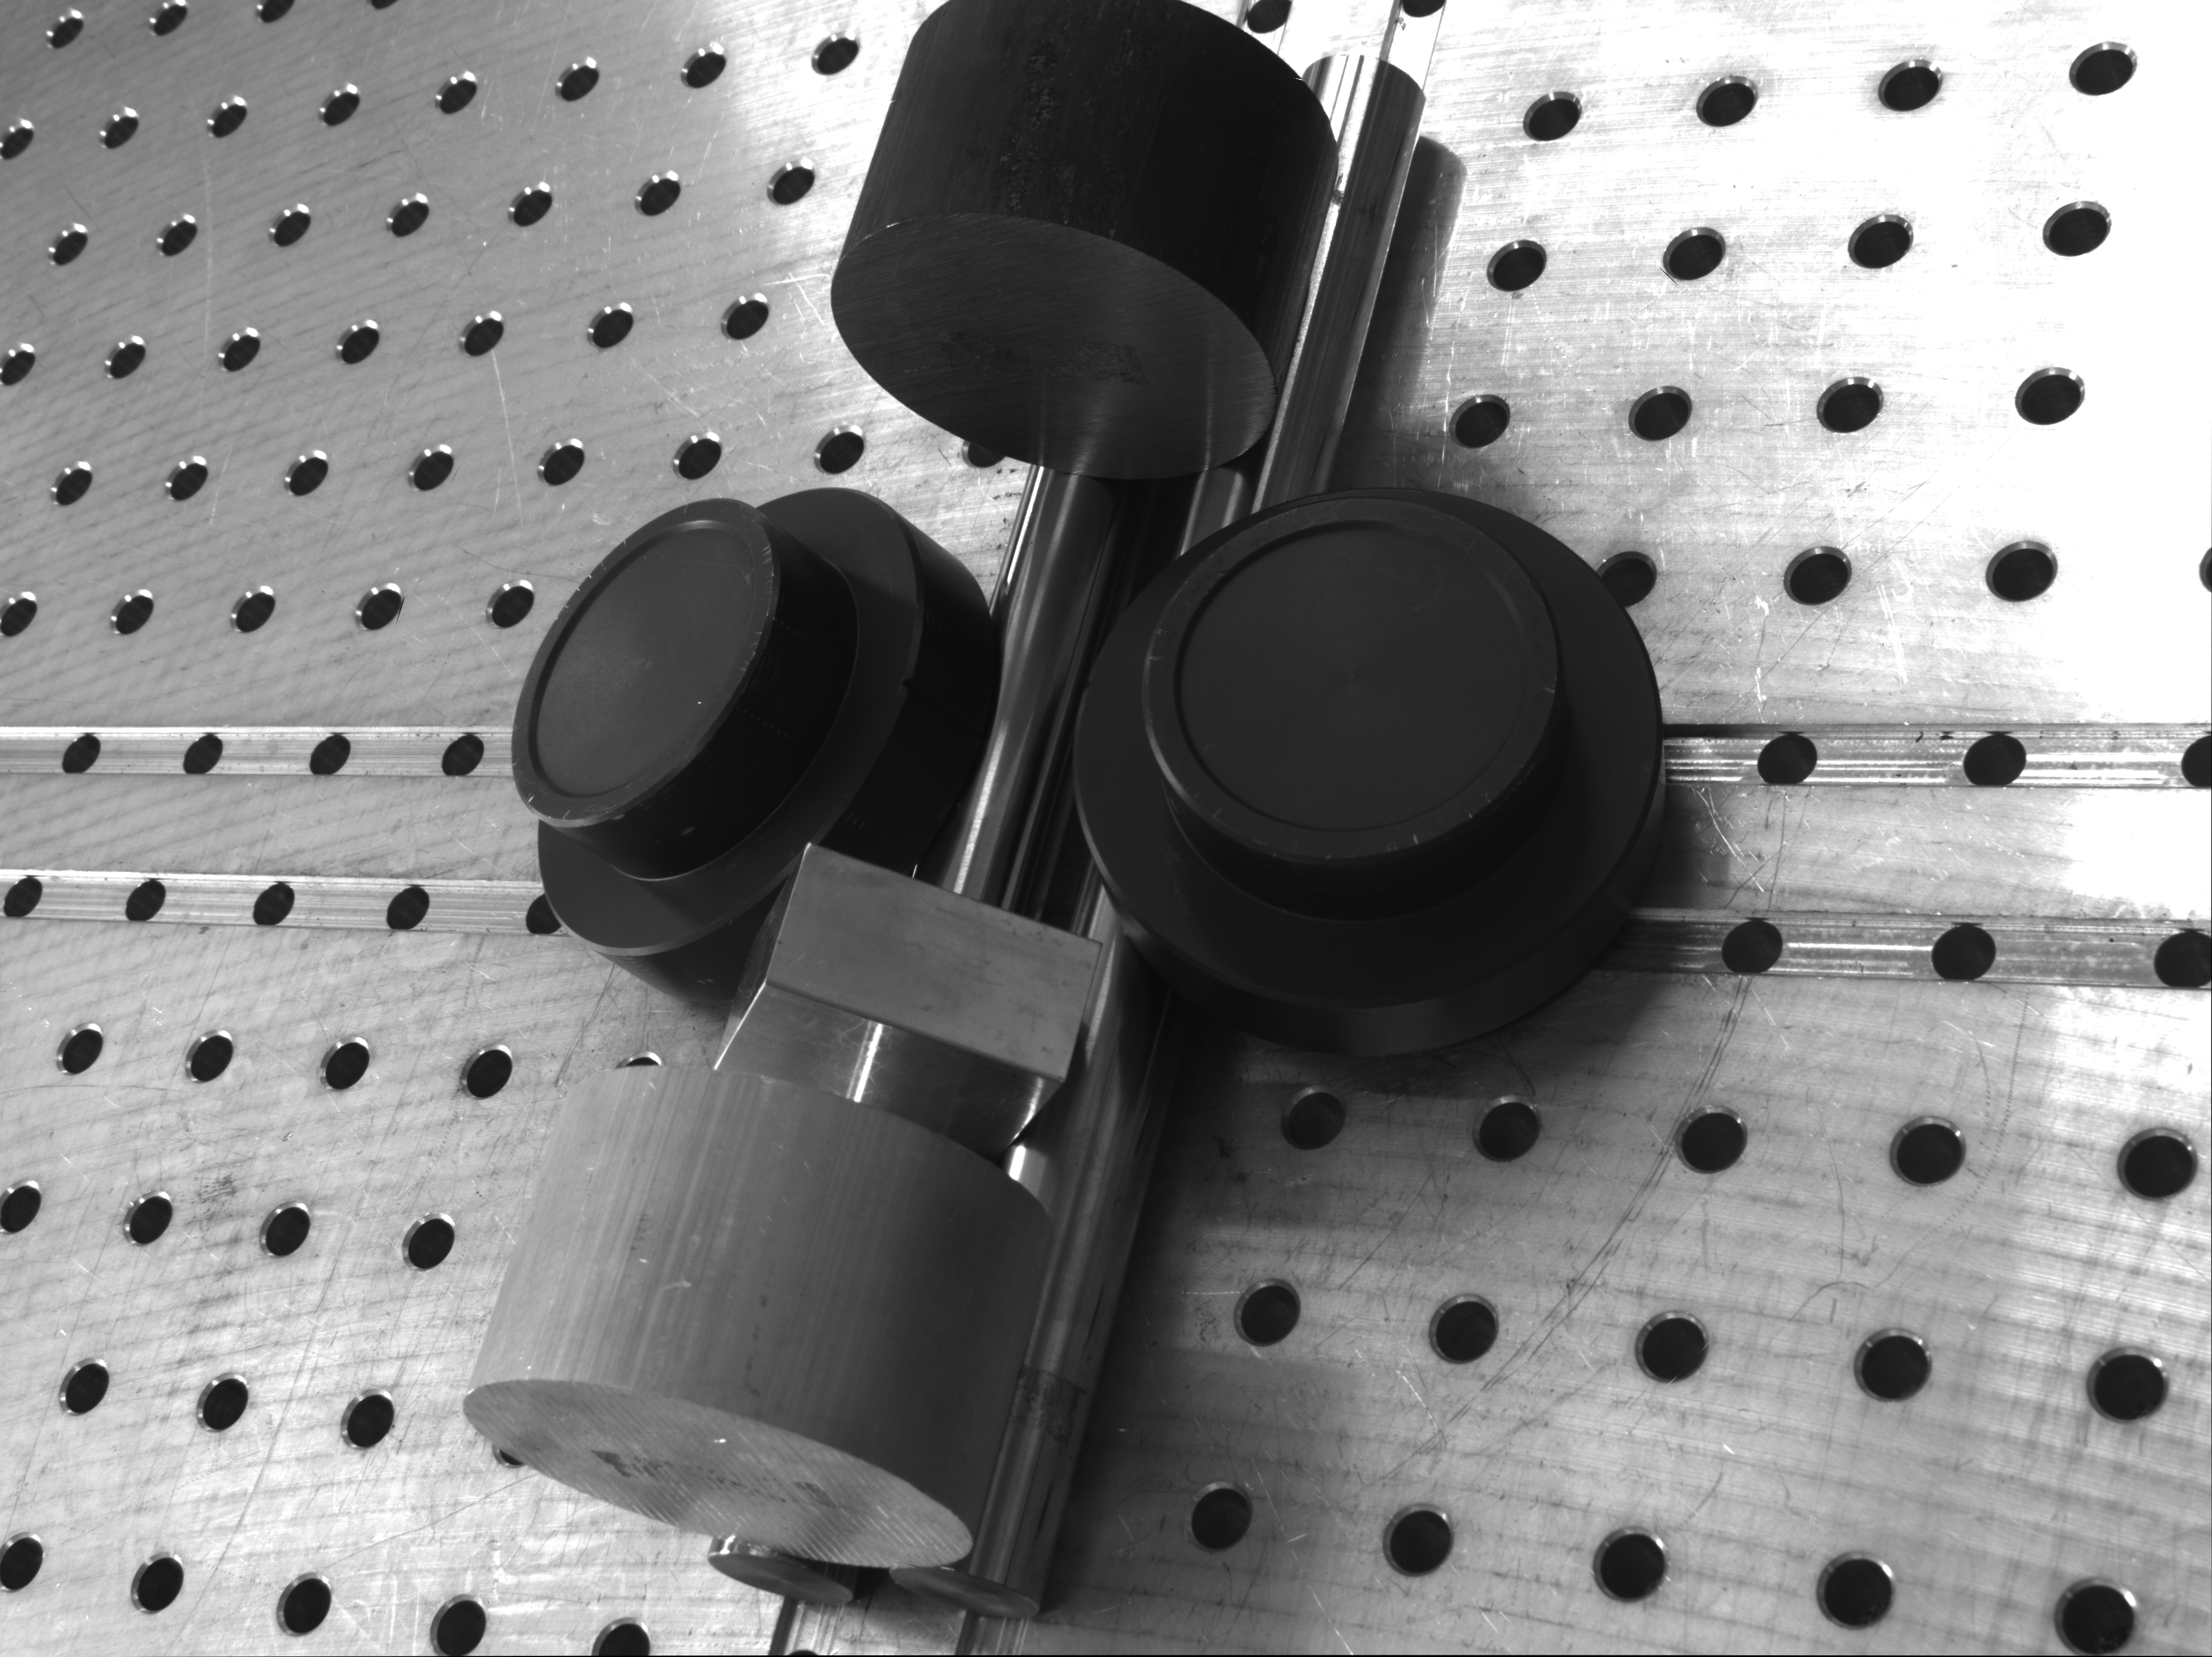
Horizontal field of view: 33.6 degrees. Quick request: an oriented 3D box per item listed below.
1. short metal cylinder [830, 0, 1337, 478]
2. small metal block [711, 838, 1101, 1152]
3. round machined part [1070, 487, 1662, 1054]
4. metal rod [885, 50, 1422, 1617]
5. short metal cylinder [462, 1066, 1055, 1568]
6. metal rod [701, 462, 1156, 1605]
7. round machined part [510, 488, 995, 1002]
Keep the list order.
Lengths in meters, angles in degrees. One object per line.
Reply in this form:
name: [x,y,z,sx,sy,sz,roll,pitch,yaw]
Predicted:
short metal cylinder: [-0.004,-0.105,0.651,0.080,0.080,0.050,1,62,29]
small metal block: [-0.034,0.030,0.601,0.050,0.050,0.025,20,65,-9]
round machined part: [0.042,-0.016,0.606,0.098,0.042,0.098,-5,62,9]
metal rod: [0.013,-0.010,0.646,0.025,0.025,0.300,1,62,29]
short metal cylinder: [-0.053,0.076,0.565,0.080,0.080,0.050,1,62,29]
metal rod: [-0.018,-0.009,0.662,0.025,0.025,0.300,1,62,29]
round machined part: [-0.071,-0.021,0.672,0.098,0.042,0.098,-25,47,30]
